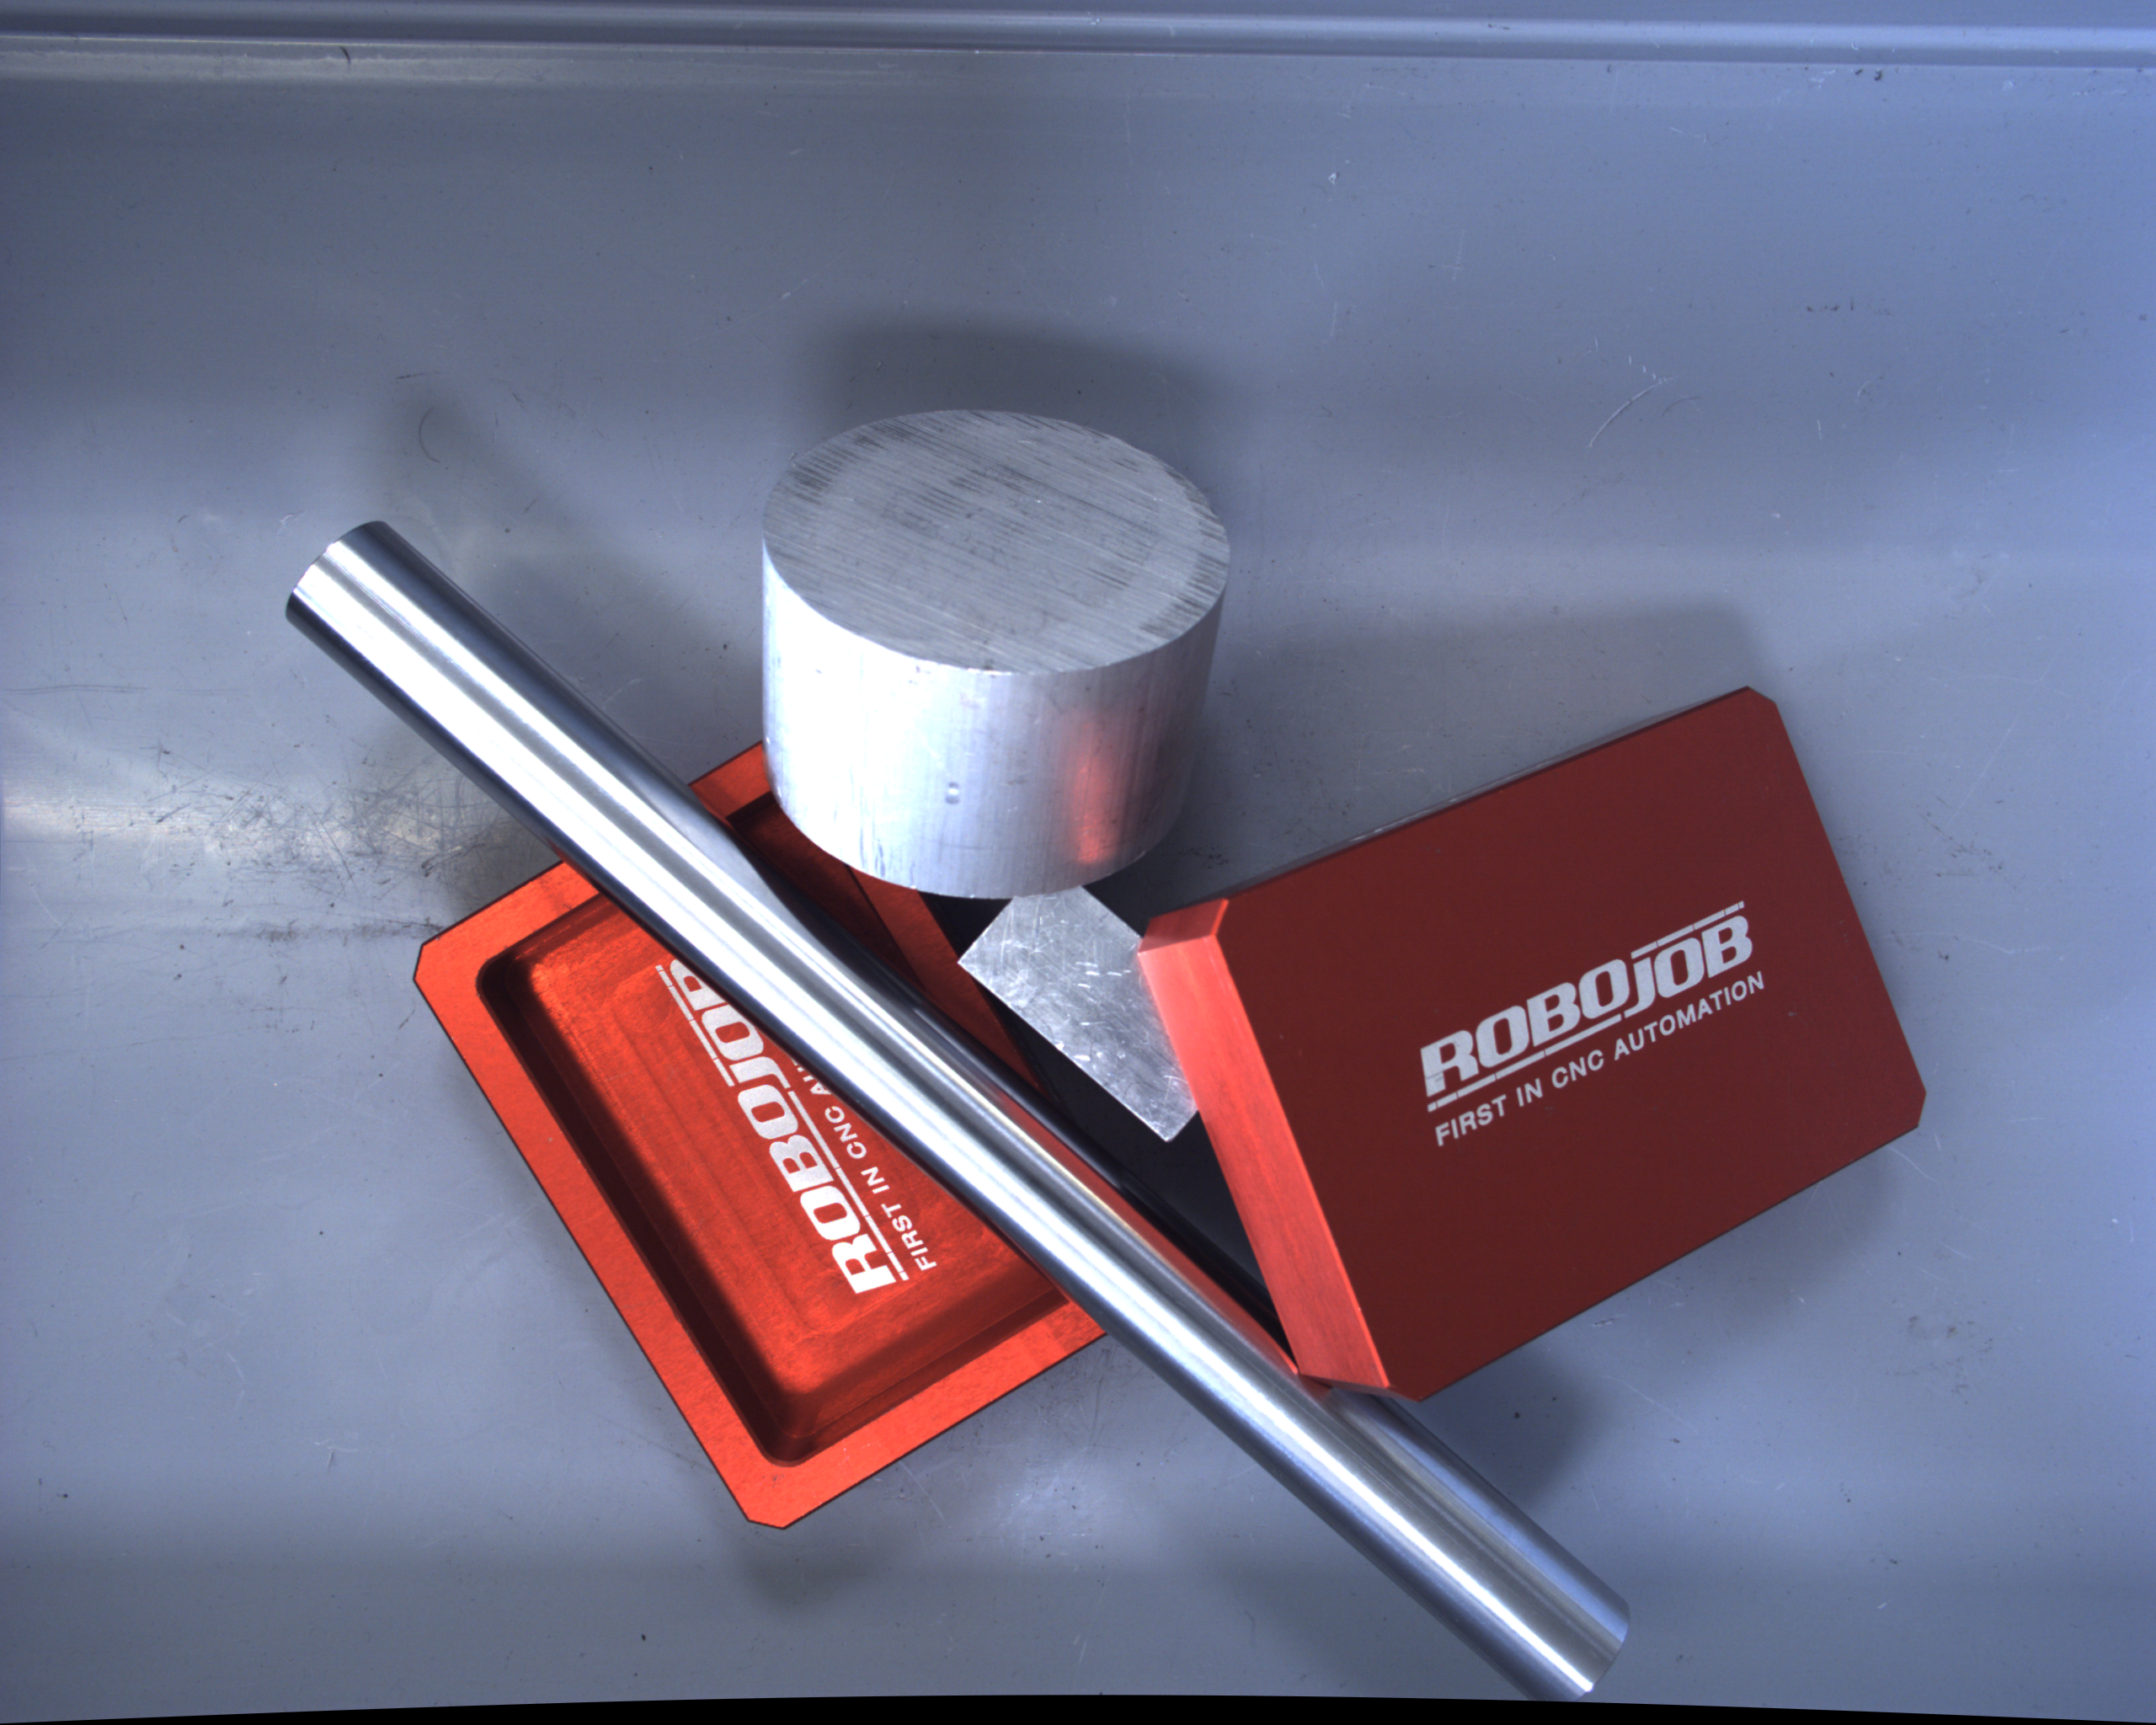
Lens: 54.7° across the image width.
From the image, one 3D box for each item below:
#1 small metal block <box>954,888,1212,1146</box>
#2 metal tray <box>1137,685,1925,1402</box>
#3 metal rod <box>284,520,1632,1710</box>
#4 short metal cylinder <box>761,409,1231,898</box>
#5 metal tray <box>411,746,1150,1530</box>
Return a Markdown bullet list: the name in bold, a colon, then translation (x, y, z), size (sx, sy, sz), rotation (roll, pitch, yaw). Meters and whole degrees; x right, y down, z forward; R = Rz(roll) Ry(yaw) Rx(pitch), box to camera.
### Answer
- **small metal block**: translation (0.005, 0.025, 0.396), size (0.050, 0.050, 0.025), rotation (41, 90, 0)
- **metal tray**: translation (0.086, 0.030, 0.382), size (0.131, 0.030, 0.090), rotation (-21, 90, -25)
- **metal rod**: translation (-0.021, 0.046, 0.379), size (0.300, 0.025, 0.025), rotation (41, 90, -1)
- **short metal cylinder**: translation (-0.016, -0.039, 0.376), size (0.080, 0.080, 0.050), rotation (8, 132, 0)
- **metal tray**: translation (-0.055, 0.050, 0.406), size (0.090, 0.030, 0.130), rotation (-32, 90, 0)
